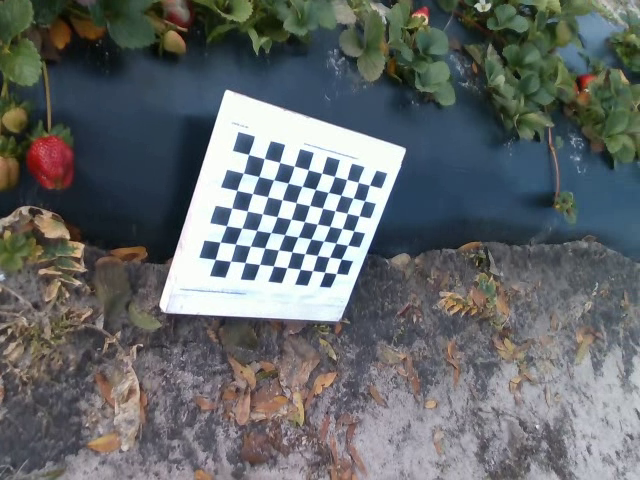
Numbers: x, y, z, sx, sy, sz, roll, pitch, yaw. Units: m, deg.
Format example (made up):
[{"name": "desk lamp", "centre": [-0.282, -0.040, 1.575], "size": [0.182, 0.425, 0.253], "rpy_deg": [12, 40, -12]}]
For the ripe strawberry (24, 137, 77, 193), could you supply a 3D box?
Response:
[{"name": "ripe strawberry", "centre": [-0.286, -0.082, 0.664], "size": [0.066, 0.075, 0.052], "rpy_deg": [-12, 30, -33]}]
